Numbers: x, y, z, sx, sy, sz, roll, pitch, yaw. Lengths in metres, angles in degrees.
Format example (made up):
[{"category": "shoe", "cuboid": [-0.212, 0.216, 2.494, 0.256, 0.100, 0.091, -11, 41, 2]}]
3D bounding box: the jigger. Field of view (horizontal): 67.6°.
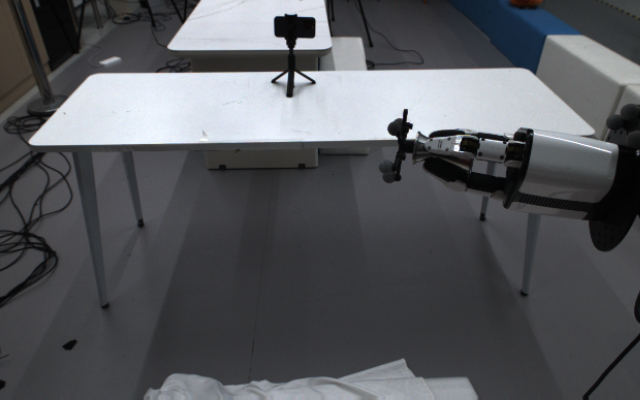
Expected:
[{"category": "jigger", "cuboid": [0.153, -0.060, 0.572, 0.071, 0.043, 0.043, 10, 35, 16]}]
